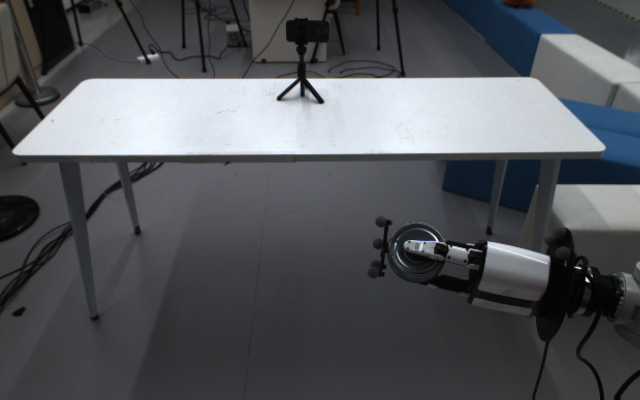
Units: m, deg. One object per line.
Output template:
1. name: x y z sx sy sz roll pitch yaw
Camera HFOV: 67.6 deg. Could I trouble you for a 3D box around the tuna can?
1. tuna can: 0.145 0.075 0.714 0.085 0.034 0.085 -2 68 5
